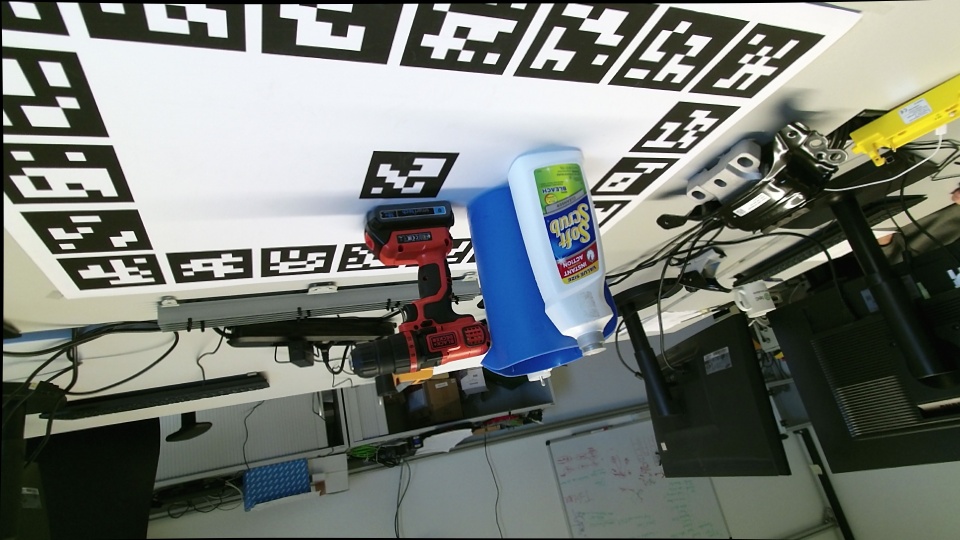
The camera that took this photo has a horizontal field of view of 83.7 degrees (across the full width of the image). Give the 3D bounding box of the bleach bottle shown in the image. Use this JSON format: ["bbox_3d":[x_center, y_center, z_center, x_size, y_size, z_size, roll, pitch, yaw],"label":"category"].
[{"bbox_3d":[0.124,0.002,0.658,0.103,0.249,0.068,-9,156,-17],"label":"bleach bottle"}]

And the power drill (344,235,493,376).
[{"bbox_3d":[-0.086,0.046,0.697,0.185,0.186,0.057,-3,151,-16],"label":"power drill"}]

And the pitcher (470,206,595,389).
[{"bbox_3d":[0.076,0.032,0.746,0.189,0.241,0.133,-17,156,1],"label":"pitcher"}]
